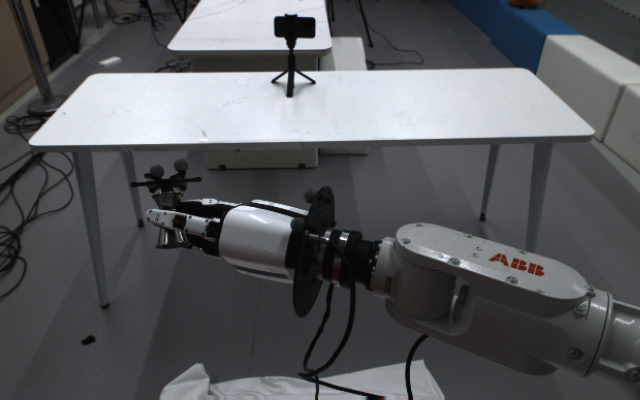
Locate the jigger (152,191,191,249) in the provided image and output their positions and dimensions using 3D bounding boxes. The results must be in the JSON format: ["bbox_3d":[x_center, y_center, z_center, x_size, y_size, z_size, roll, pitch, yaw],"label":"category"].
[{"bbox_3d":[-0.191,0.026,0.625,0.043,0.043,0.071,-7,79,-13],"label":"jigger"}]
